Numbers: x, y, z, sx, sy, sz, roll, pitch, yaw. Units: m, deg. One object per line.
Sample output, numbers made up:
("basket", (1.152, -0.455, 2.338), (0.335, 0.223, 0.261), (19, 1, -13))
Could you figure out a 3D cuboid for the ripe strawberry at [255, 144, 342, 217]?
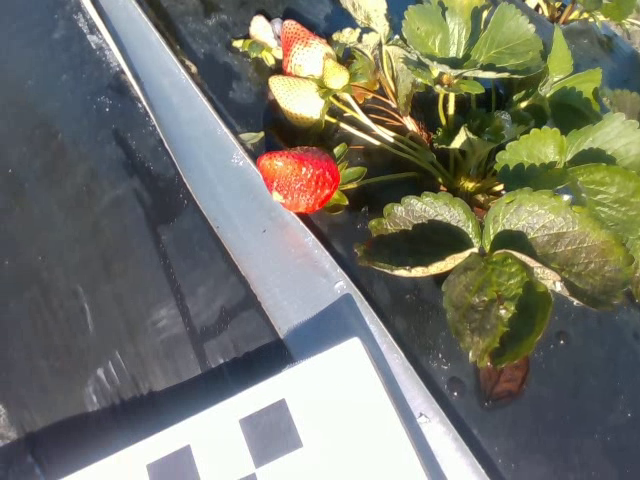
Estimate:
("ripe strawberry", (-0.012, -0.029, 0.269), (0.038, 0.036, 0.045), (-38, -33, 14))
